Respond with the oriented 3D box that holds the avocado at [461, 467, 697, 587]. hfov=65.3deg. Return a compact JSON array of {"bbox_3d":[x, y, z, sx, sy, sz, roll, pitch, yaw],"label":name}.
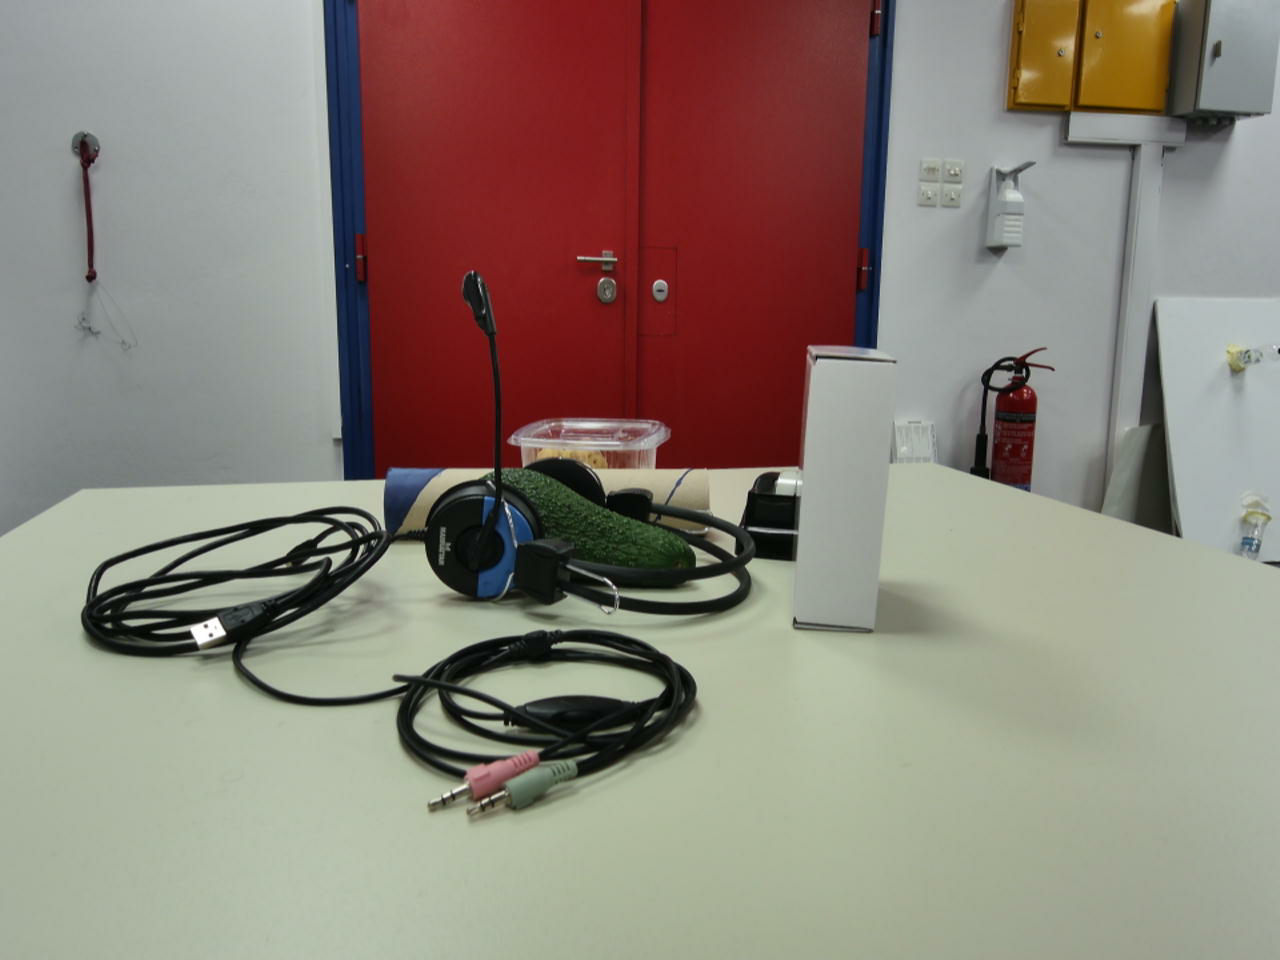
[{"bbox_3d":[-0.036,0.026,0.588,0.141,0.067,0.063,0,8,2],"label":"avocado"}]
